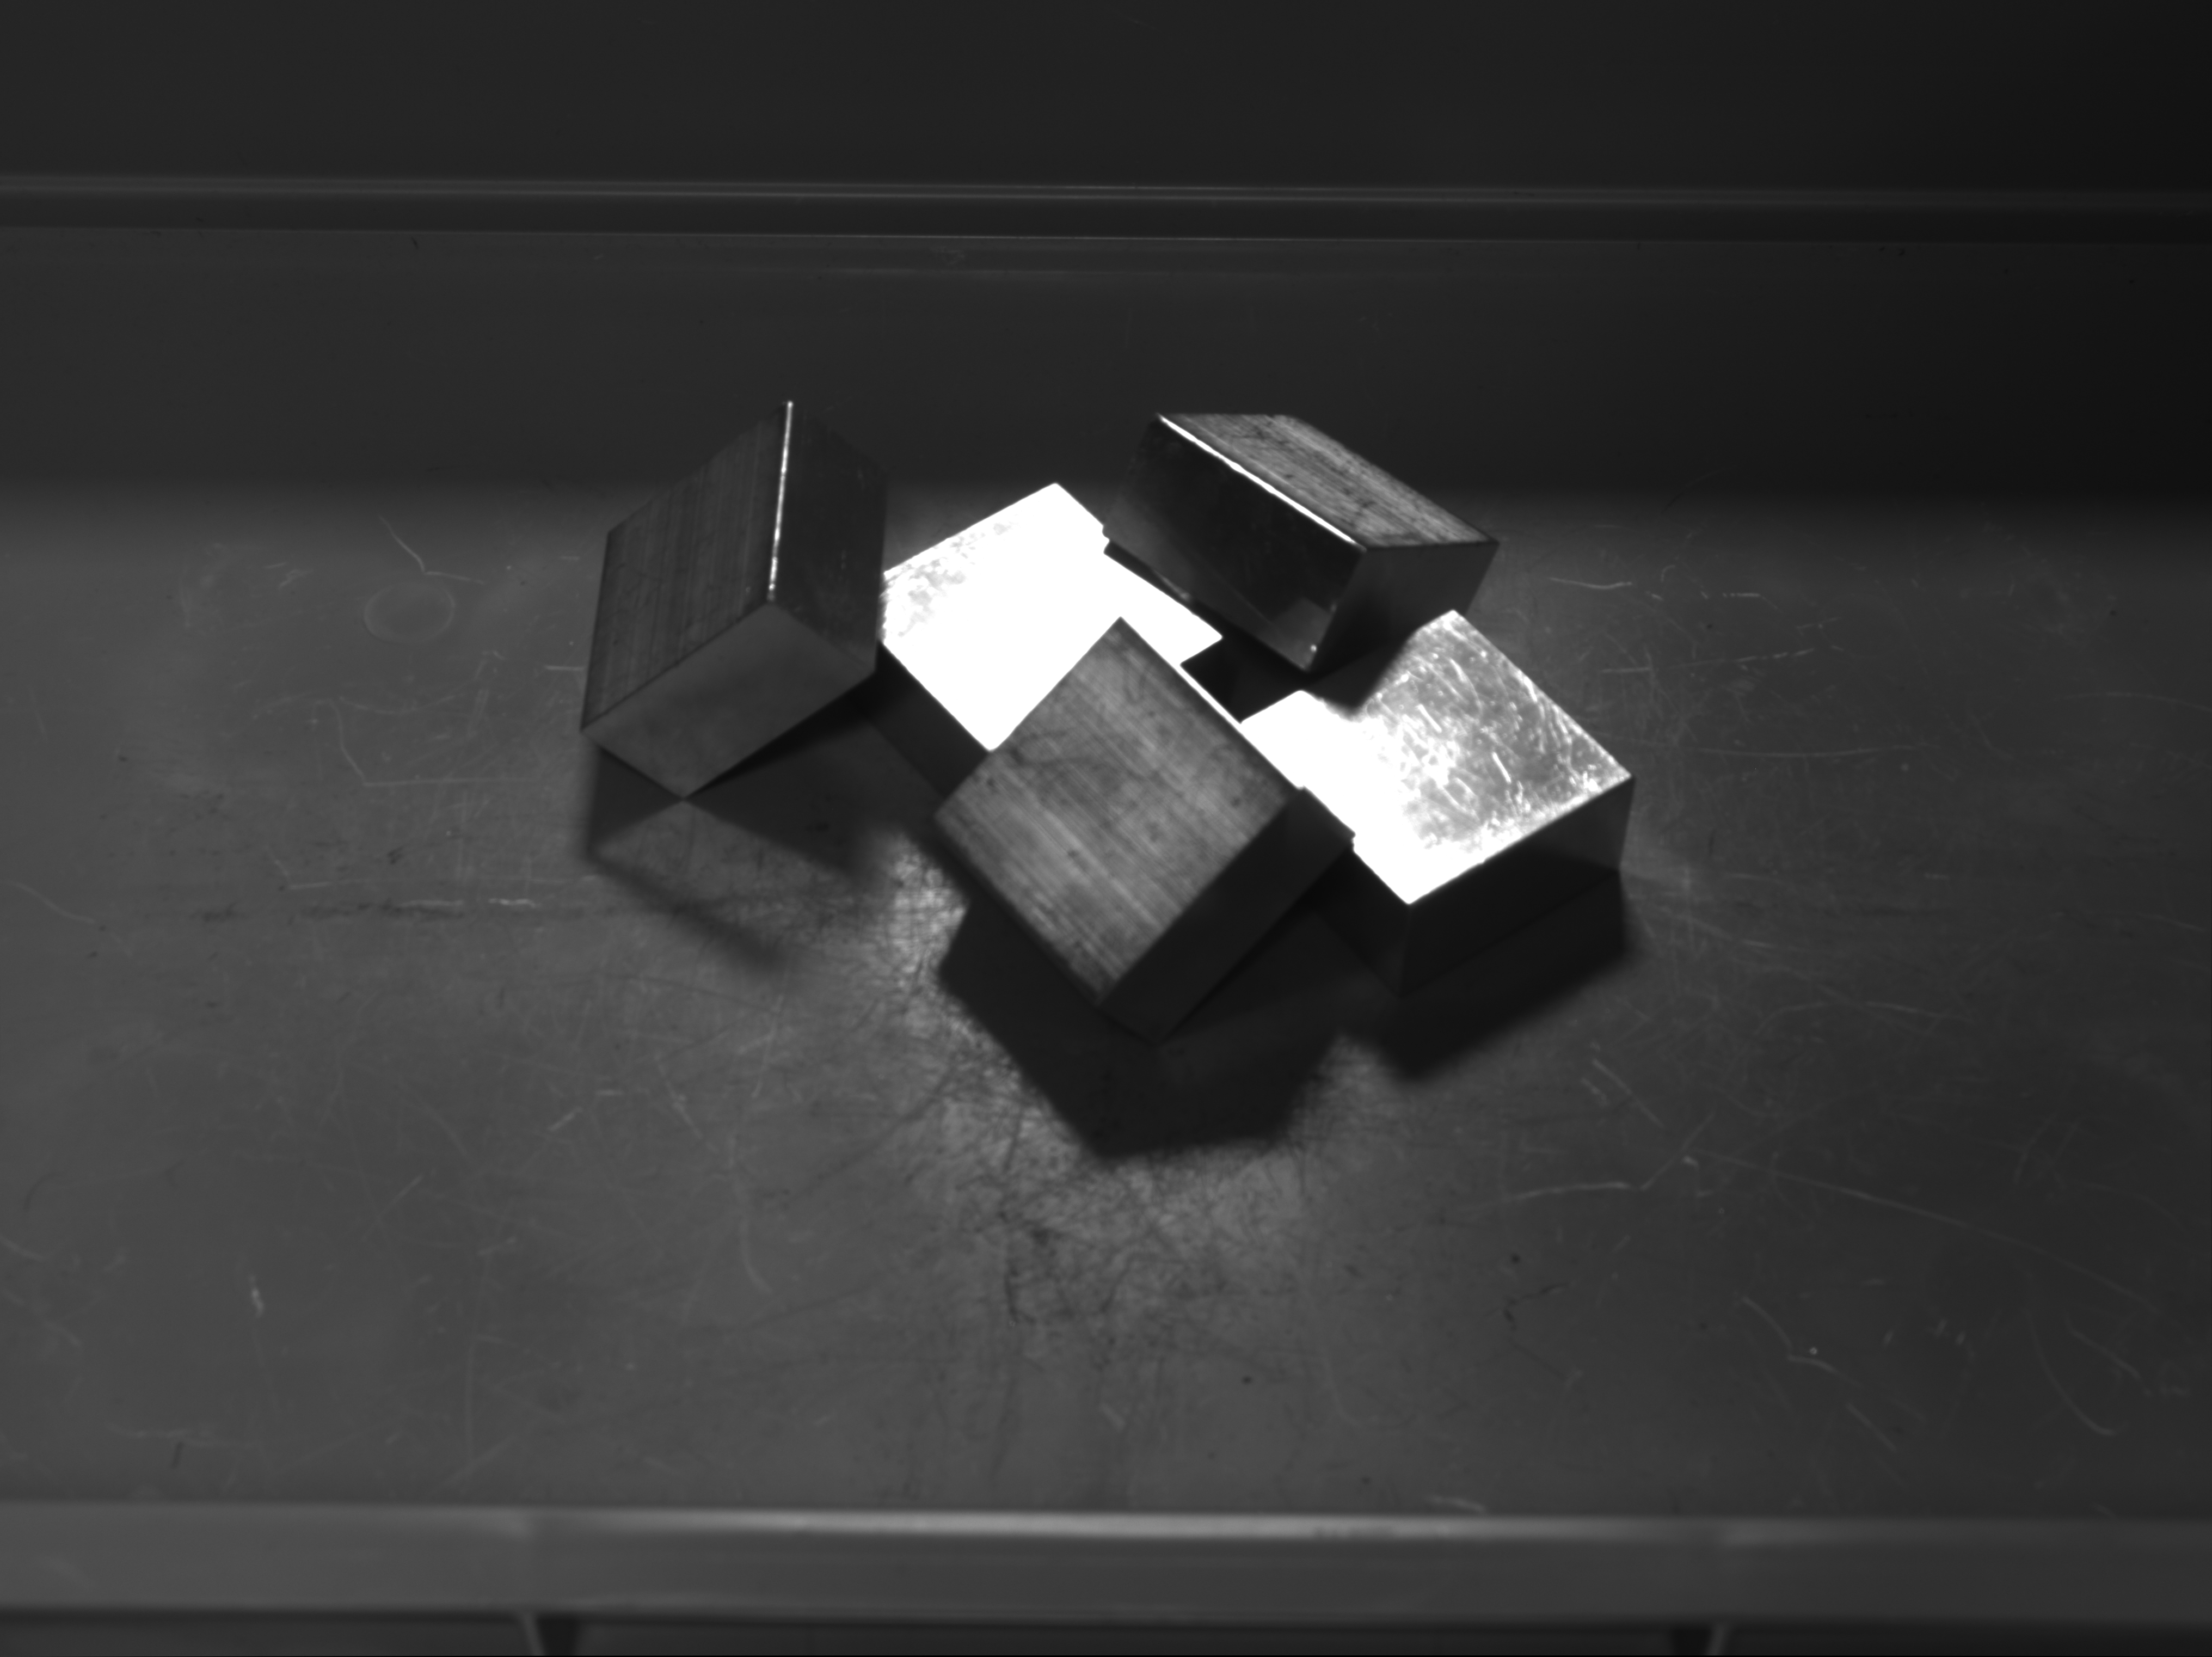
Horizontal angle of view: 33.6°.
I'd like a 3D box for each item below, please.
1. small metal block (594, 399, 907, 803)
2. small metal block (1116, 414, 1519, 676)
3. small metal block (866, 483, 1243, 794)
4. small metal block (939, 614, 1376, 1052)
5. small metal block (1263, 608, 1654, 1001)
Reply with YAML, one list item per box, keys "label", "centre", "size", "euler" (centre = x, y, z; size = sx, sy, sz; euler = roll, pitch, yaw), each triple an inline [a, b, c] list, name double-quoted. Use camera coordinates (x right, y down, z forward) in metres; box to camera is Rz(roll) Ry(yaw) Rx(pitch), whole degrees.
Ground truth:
- label: "small metal block"
  centre: [-0.063, -0.041, 0.657]
  size: [0.050, 0.025, 0.050]
  euler: [-31, 40, 32]
- label: "small metal block"
  centre: [0.039, -0.053, 0.670]
  size: [0.050, 0.025, 0.050]
  euler: [36, 24, 26]
- label: "small metal block"
  centre: [-0.011, -0.029, 0.665]
  size: [0.050, 0.025, 0.050]
  euler: [-30, 56, -23]
- label: "small metal block"
  centre: [0.009, 0.001, 0.625]
  size: [0.050, 0.025, 0.050]
  euler: [-47, 58, 4]
- label: "small metal block"
  centre: [0.060, -0.005, 0.645]
  size: [0.050, 0.025, 0.050]
  euler: [-29, 56, -22]
